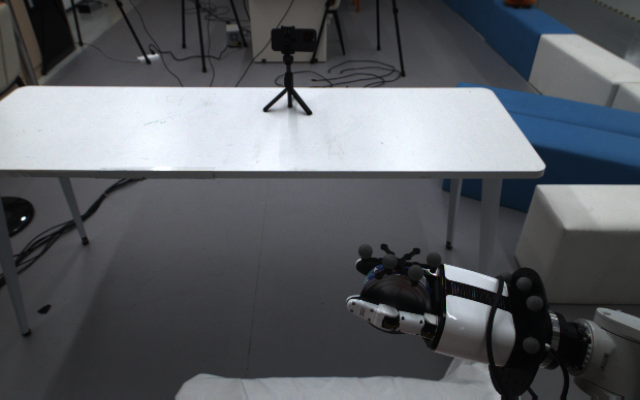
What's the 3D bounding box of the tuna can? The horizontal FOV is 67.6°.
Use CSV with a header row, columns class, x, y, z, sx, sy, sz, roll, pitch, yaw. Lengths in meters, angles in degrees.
class,x,y,z,sx,sy,sz,roll,pitch,yaw
tuna can,0.094,0.118,0.592,0.085,0.085,0.034,9,24,10
